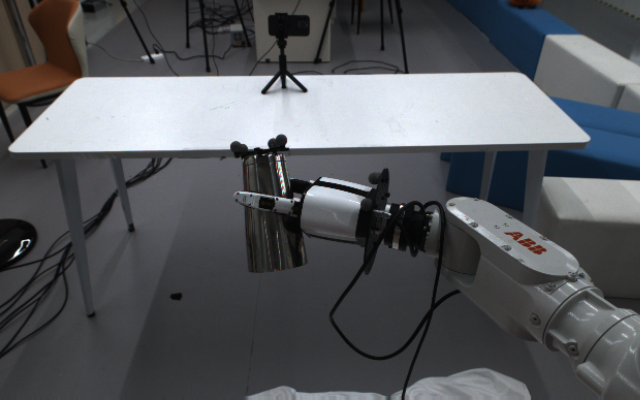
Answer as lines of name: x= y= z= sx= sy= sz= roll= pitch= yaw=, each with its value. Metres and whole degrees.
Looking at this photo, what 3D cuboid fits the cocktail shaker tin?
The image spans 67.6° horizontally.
cocktail shaker tin: x=-0.076 y=0.018 z=0.740 sx=0.093 sy=0.170 sz=0.093 roll=-8 pitch=1 yaw=0
